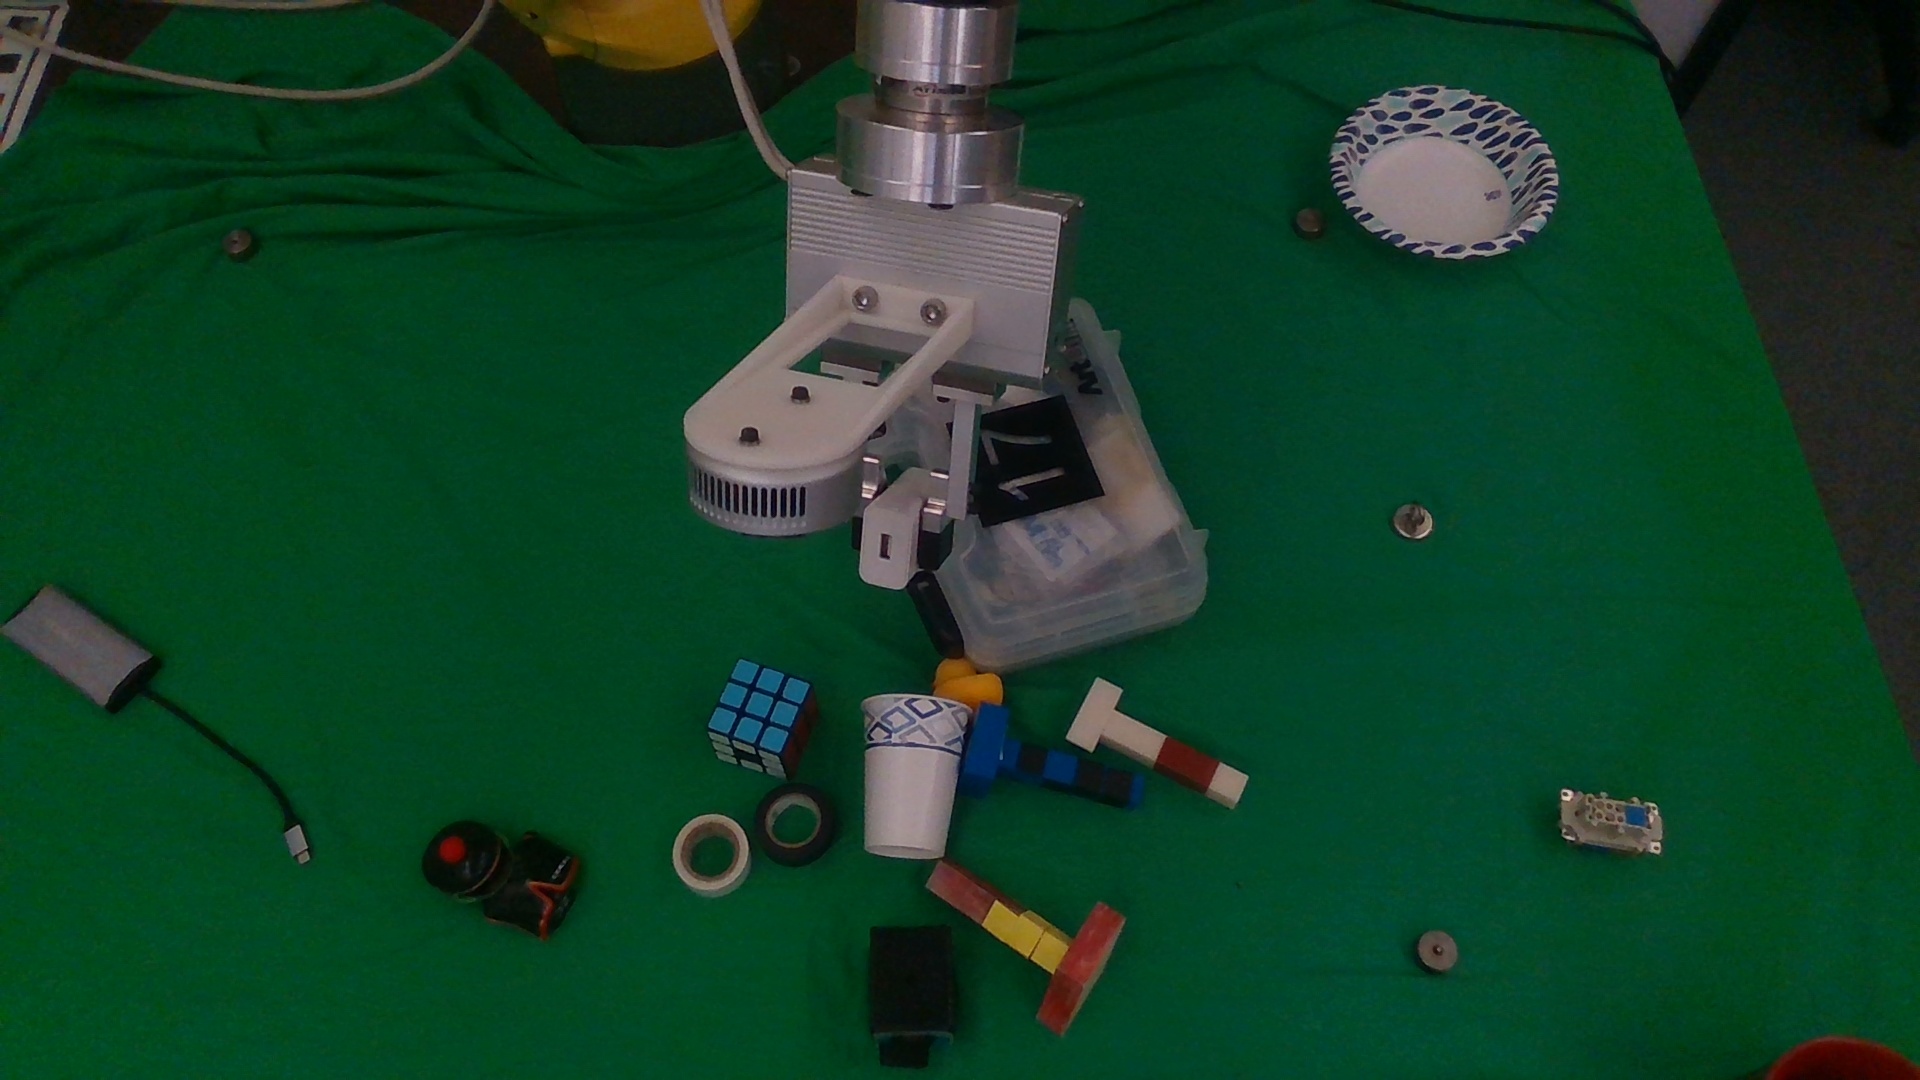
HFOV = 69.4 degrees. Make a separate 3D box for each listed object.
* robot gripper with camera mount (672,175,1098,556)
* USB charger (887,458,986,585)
[{"bbox_3d":[-0.039,-0.031,0.549,0.119,0.158,0.193,15,34,18],"label":"robot gripper with camera mount"},{"bbox_3d":[-0.007,-0.013,0.653,0.029,0.044,0.075,14,25,16],"label":"USB charger"}]
